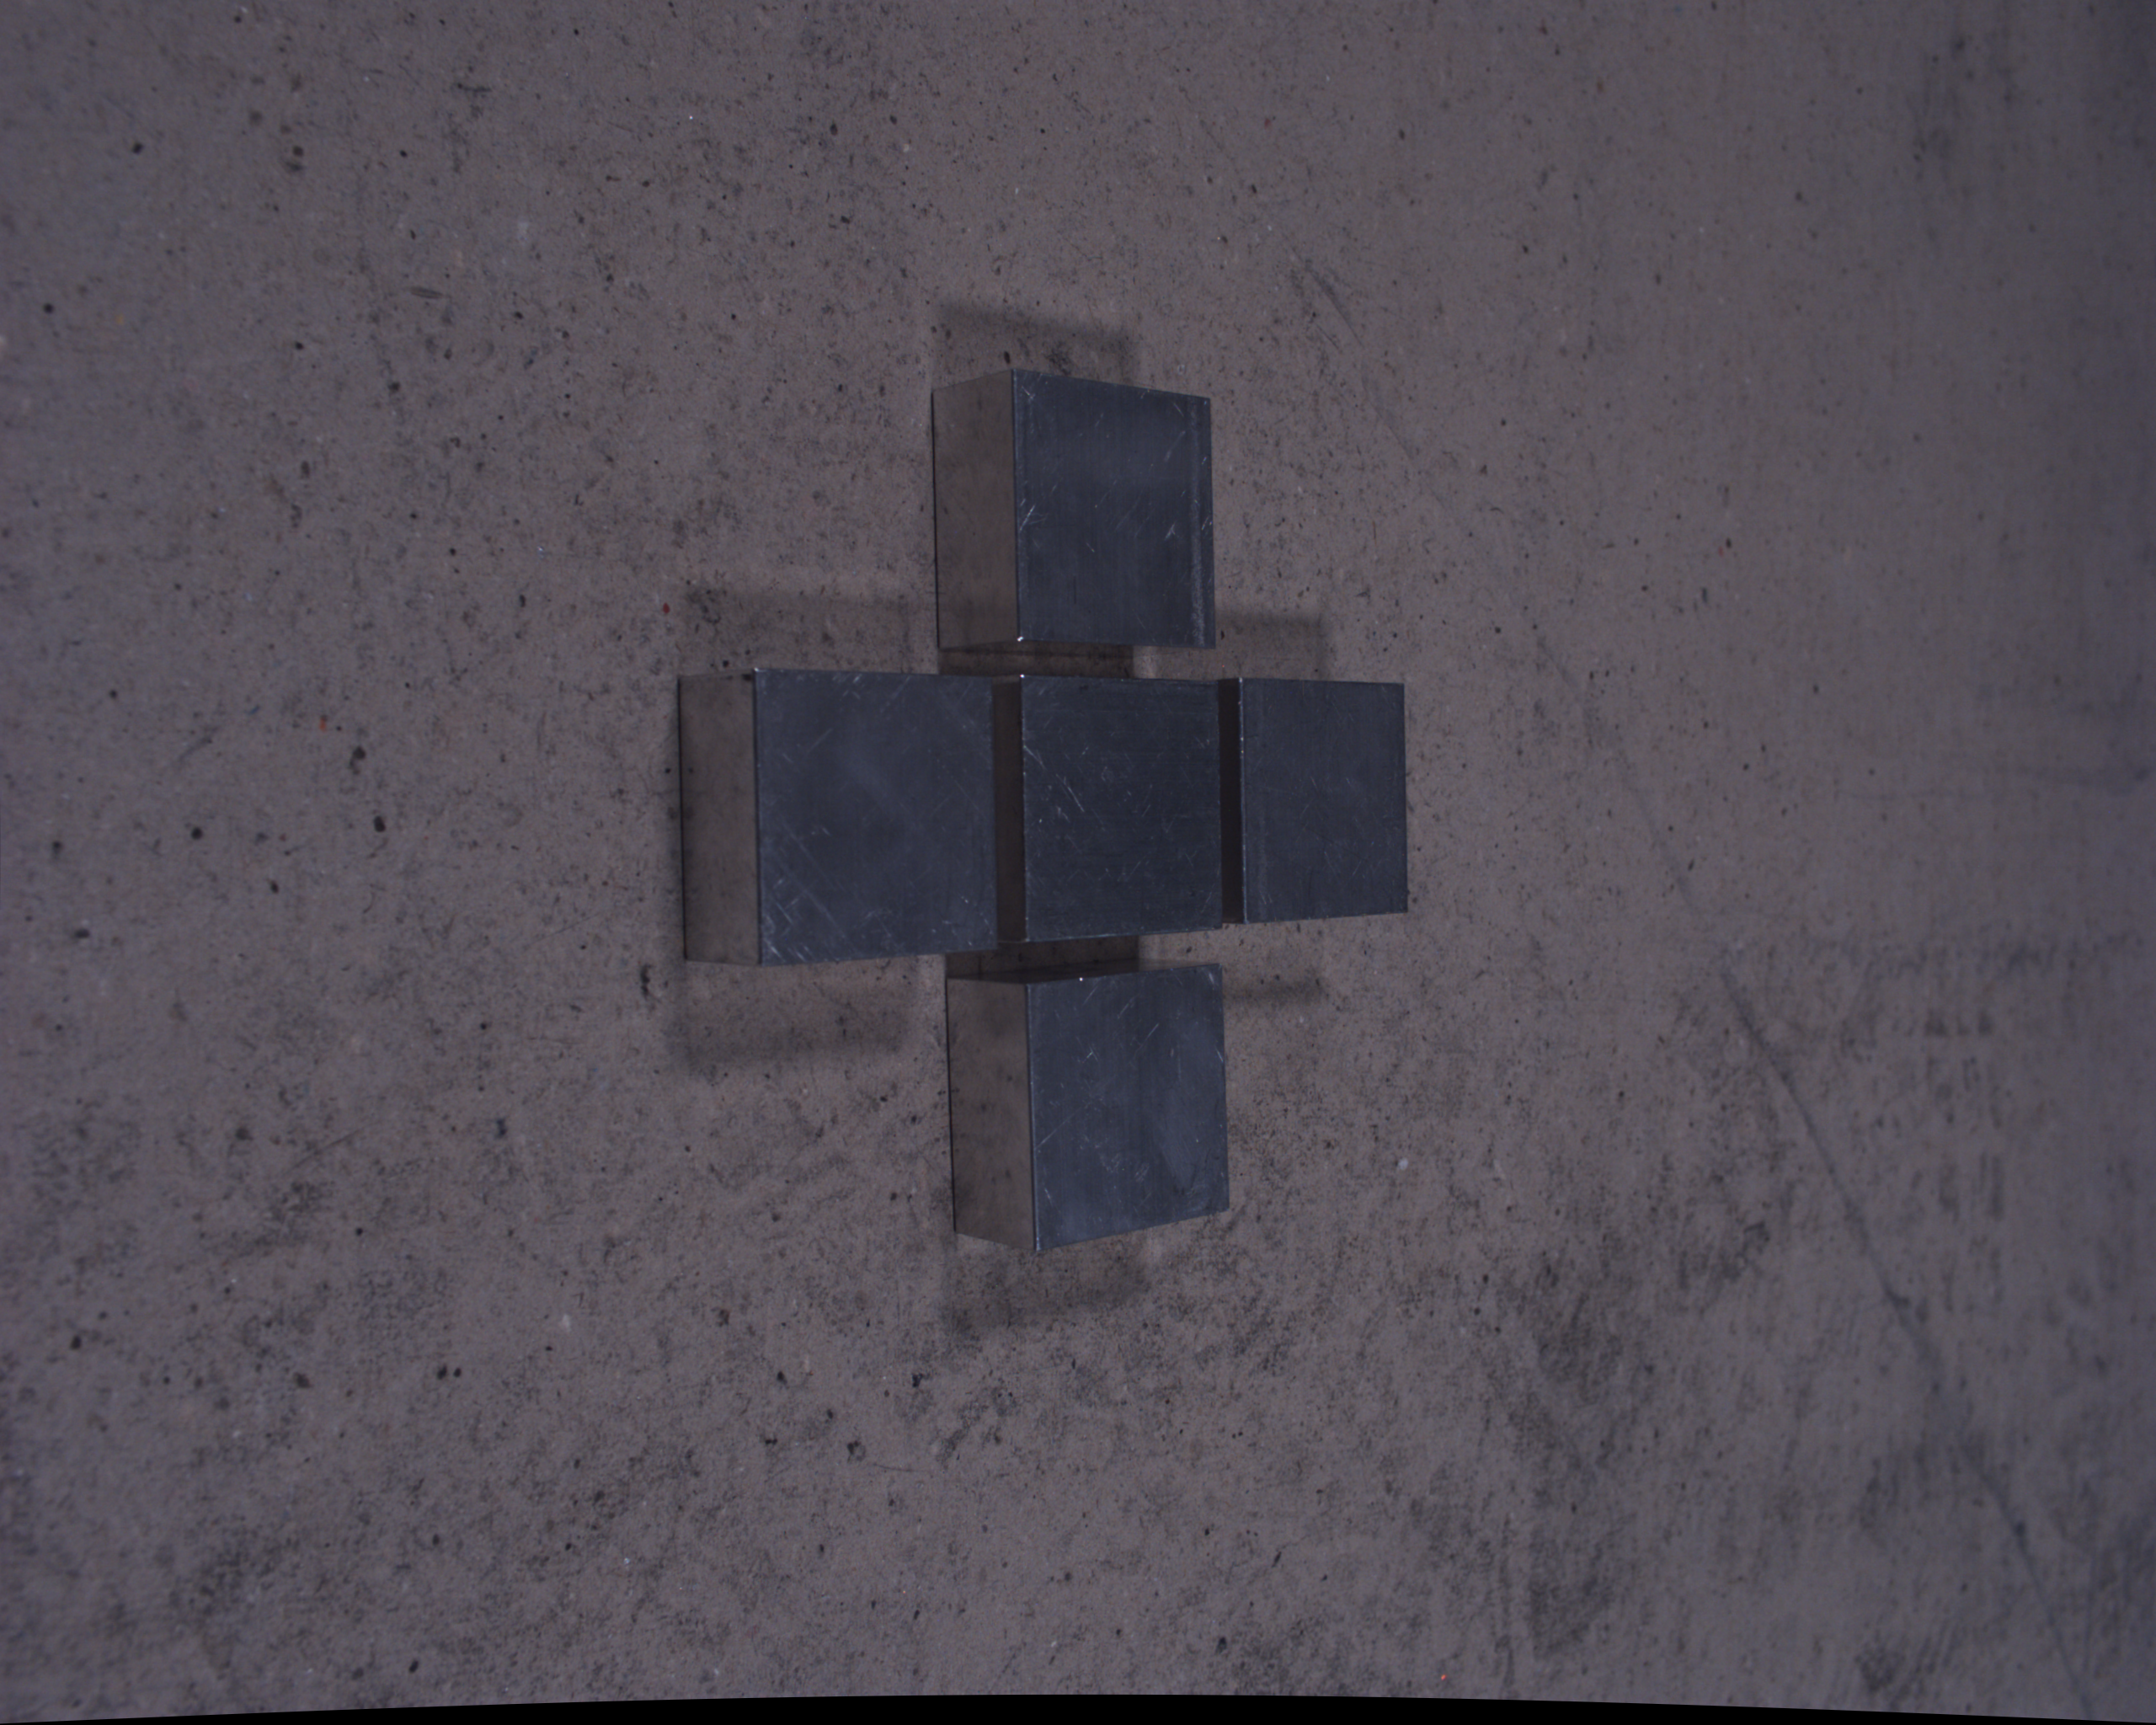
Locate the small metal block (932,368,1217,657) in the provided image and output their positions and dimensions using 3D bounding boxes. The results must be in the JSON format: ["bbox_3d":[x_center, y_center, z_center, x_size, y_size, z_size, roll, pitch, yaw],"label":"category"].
[{"bbox_3d":[0.000,-0.067,0.408,0.050,0.025,0.050,-2,92,-40],"label":"small metal block"}]

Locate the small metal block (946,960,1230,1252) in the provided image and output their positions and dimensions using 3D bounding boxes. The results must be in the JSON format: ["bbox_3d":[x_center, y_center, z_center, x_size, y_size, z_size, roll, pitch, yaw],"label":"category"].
[{"bbox_3d":[0.002,0.046,0.411,0.050,0.025,0.050,-3,92,-40],"label":"small metal block"}]

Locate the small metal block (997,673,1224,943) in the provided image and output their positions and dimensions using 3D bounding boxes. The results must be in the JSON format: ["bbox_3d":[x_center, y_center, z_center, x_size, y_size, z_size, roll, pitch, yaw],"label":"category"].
[{"bbox_3d":[0.001,-0.011,0.409,0.050,0.025,0.050,-2,92,-40],"label":"small metal block"}]

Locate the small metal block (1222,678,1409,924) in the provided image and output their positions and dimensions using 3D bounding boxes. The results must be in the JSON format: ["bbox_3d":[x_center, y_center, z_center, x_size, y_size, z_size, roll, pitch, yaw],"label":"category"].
[{"bbox_3d":[0.044,-0.013,0.446,0.050,0.025,0.050,-2,92,-40],"label":"small metal block"}]

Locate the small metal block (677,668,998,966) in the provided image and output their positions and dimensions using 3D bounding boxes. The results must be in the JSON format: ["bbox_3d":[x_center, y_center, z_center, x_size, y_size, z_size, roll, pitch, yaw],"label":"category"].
[{"bbox_3d":[-0.042,-0.008,0.372,0.050,0.025,0.050,-2,92,-40],"label":"small metal block"}]
